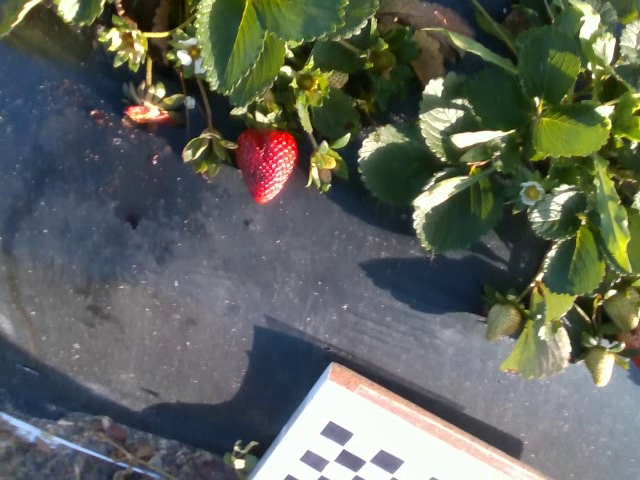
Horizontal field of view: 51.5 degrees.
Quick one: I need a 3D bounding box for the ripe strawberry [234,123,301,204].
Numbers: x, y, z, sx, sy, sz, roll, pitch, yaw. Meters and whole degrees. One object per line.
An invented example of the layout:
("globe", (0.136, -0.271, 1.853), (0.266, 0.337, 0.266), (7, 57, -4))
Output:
("ripe strawberry", (-0.039, -0.047, 0.454), (0.052, 0.052, 0.041), (4, -22, 15))
